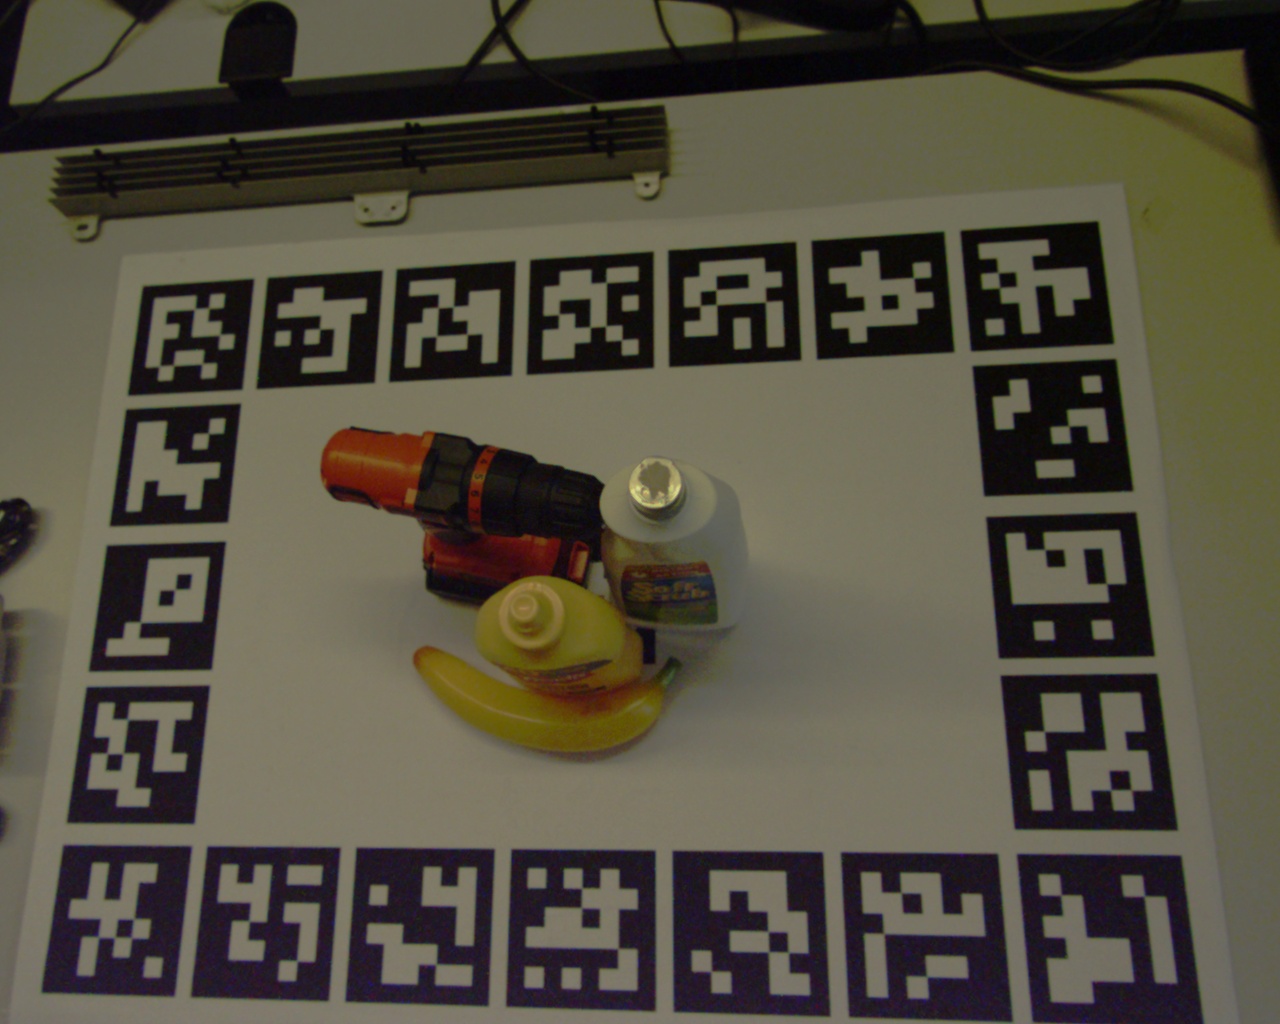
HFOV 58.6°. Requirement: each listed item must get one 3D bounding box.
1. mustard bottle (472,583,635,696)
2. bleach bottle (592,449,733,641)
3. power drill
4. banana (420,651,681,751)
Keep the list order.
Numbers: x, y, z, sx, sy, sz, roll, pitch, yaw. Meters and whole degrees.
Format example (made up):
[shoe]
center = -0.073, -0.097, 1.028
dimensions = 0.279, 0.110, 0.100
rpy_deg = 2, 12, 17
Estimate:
[mustard bottle]
center = -0.060, 0.085, 0.762
dimensions = 0.096, 0.190, 0.058
rpy_deg = 0, 75, 7
[bleach bottle]
center = 0.008, 0.022, 0.745
dimensions = 0.103, 0.249, 0.068
rpy_deg = 2, 69, 8
[power drill]
center = -0.101, 0.012, 0.768
dimensions = 0.185, 0.186, 0.057
rpy_deg = 11, 75, 9
[banana]
center = -0.070, 0.137, 0.839
dimensions = 0.198, 0.038, 0.074
rpy_deg = 3, 76, 12
